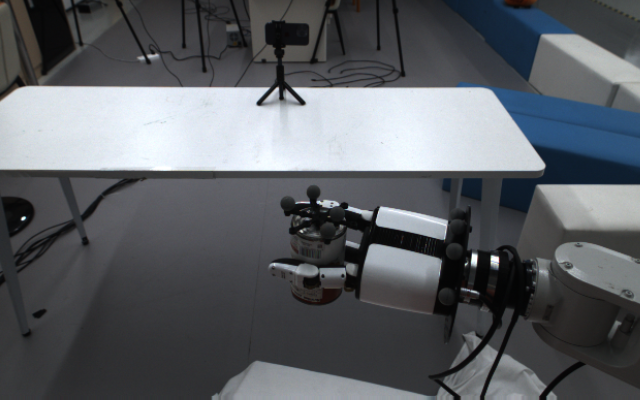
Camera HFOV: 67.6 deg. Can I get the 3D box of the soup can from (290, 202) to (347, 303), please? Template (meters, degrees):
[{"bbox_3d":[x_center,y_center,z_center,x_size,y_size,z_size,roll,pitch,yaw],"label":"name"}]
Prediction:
[{"bbox_3d":[-0.001,0.068,0.588,0.067,0.101,0.067,2,32,-1],"label":"soup can"}]
